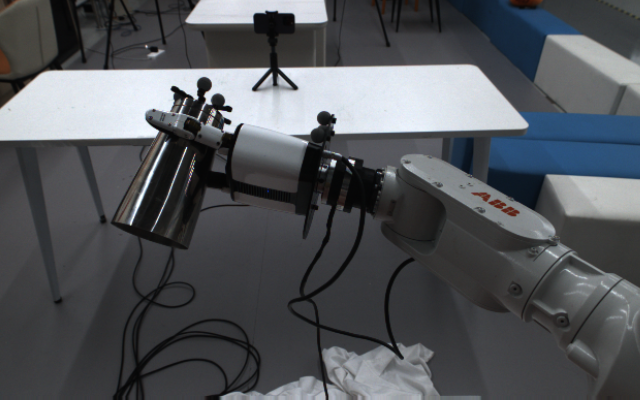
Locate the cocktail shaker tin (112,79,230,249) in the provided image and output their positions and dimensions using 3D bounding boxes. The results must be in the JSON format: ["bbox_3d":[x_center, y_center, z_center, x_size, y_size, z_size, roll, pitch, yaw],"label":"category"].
[{"bbox_3d":[-0.176,-0.037,0.592,0.093,0.093,0.170,12,72,14],"label":"cocktail shaker tin"}]
